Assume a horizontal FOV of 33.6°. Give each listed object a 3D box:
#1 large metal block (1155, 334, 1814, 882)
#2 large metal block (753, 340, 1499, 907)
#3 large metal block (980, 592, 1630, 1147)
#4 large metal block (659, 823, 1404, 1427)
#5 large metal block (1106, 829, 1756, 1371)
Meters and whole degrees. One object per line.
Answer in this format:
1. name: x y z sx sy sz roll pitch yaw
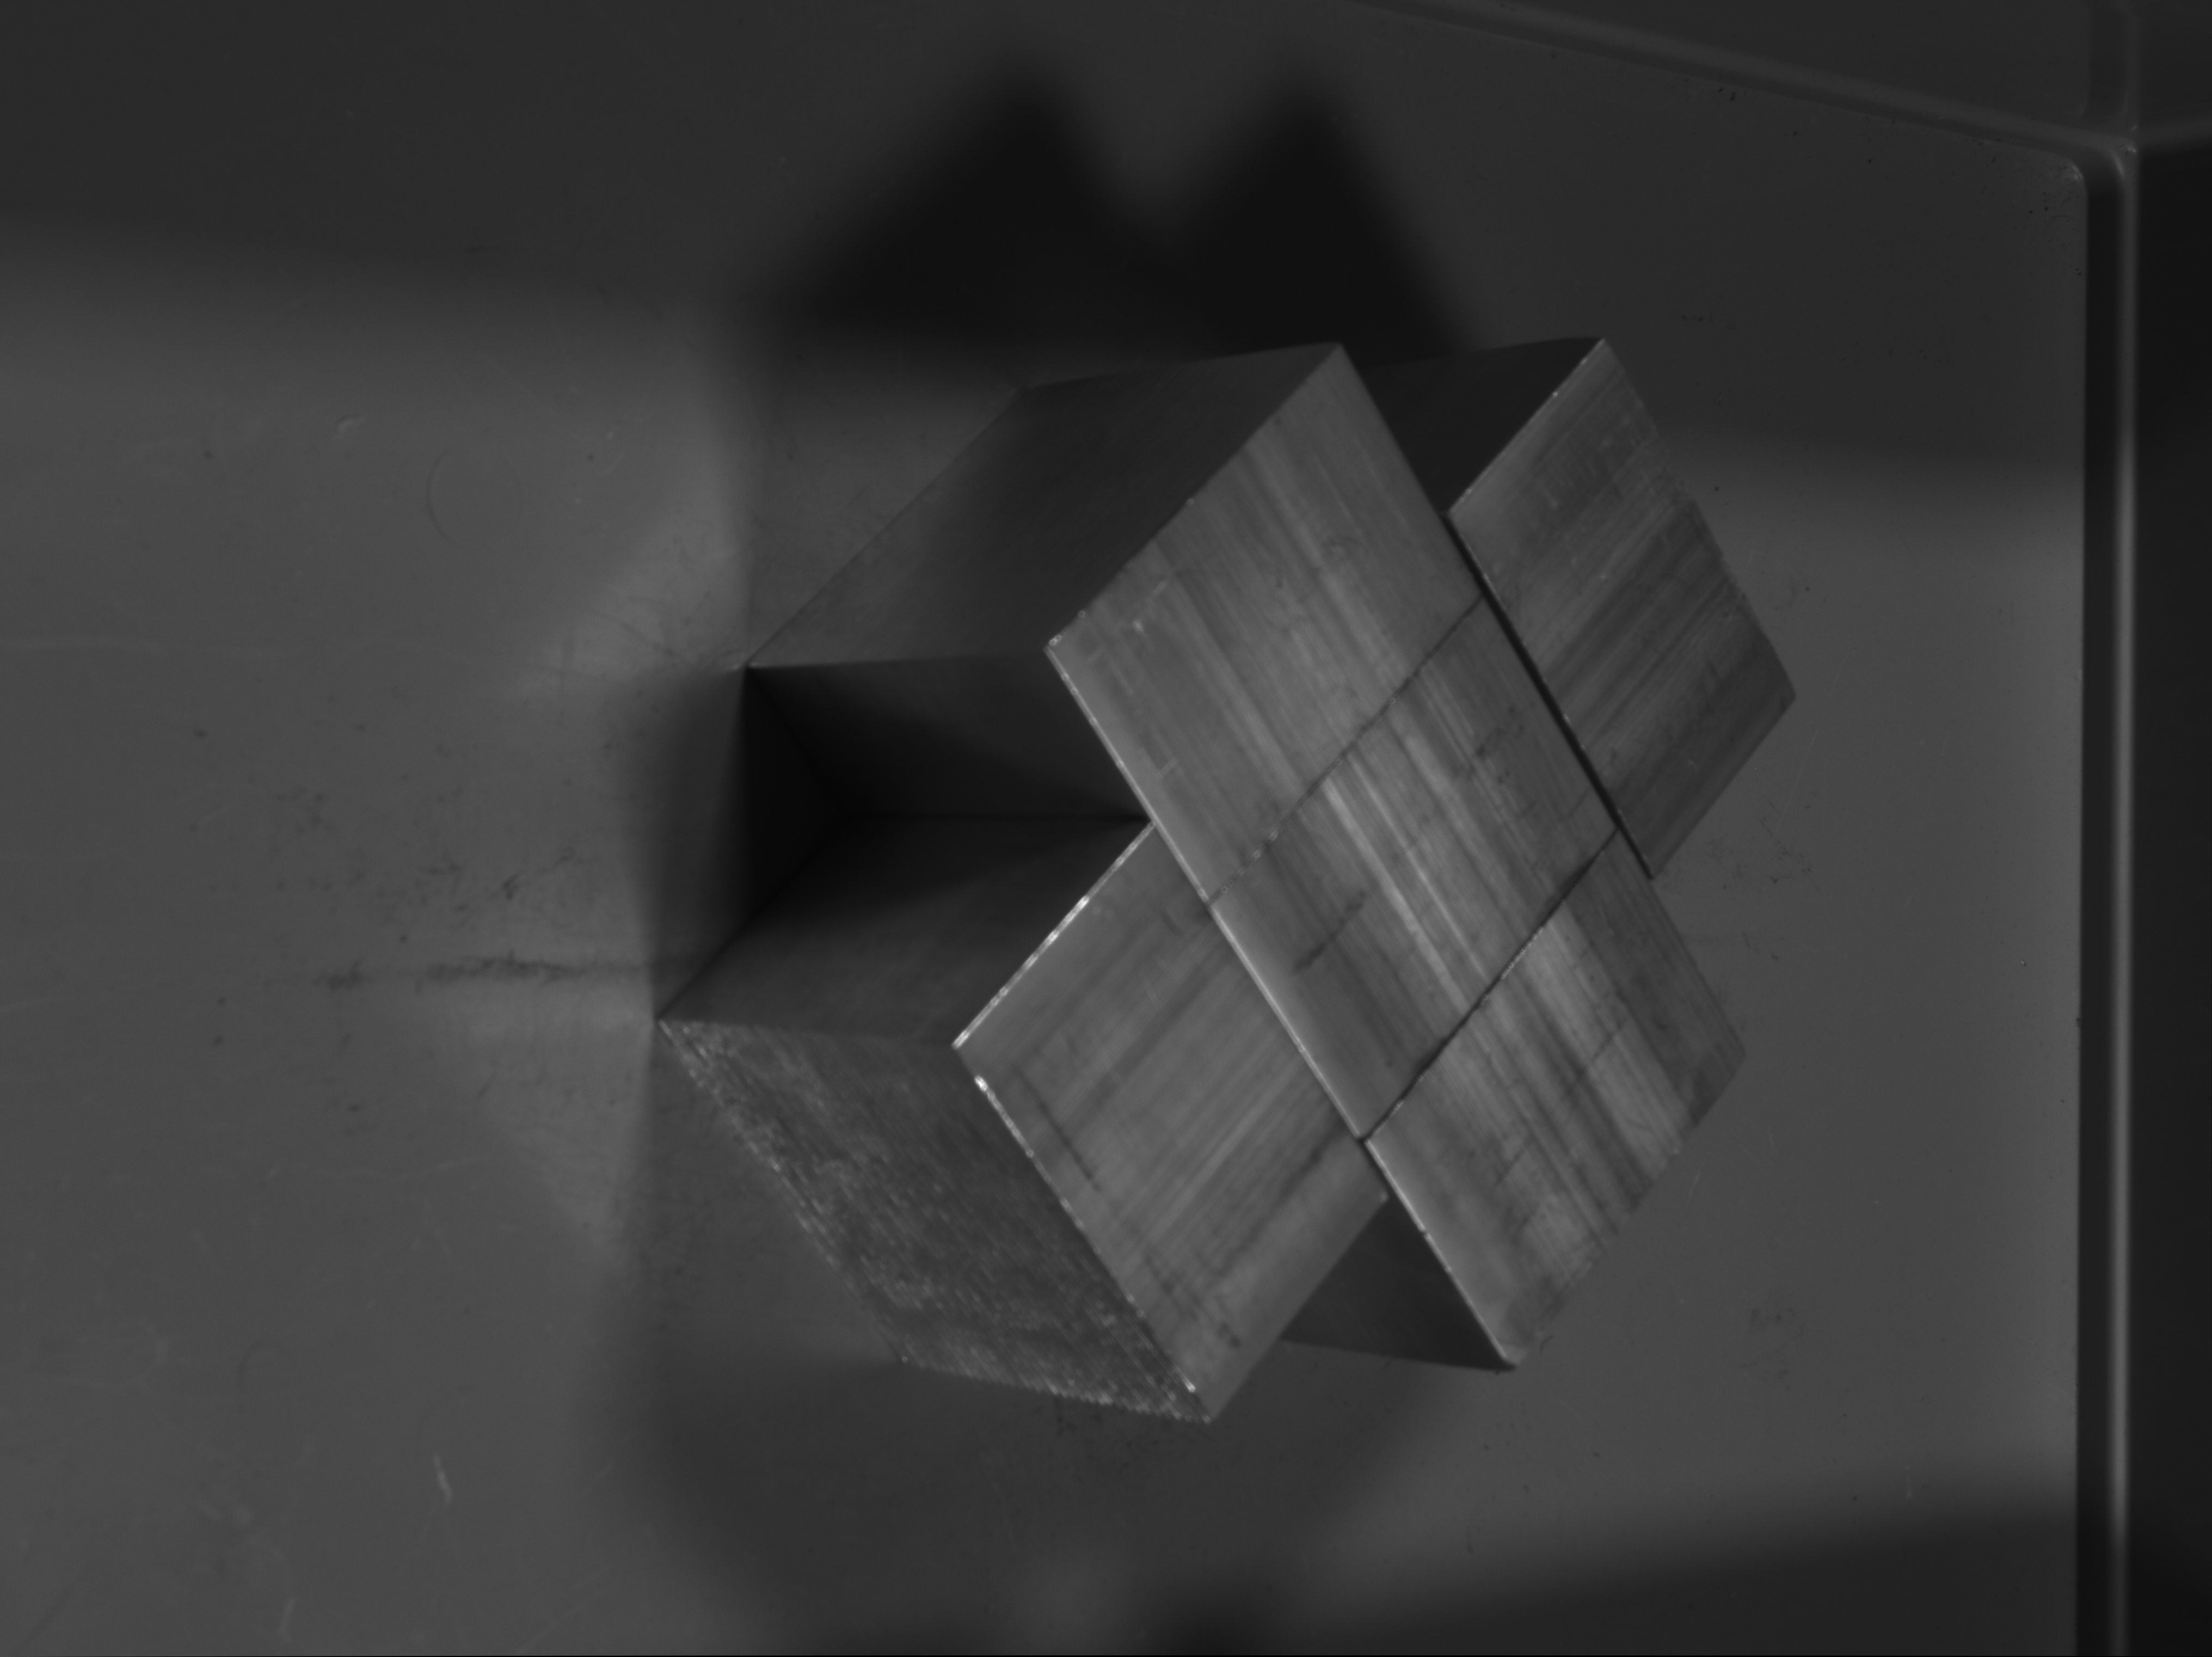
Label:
1. large metal block: 0.066 -0.037 0.657 0.050 0.080 0.080 -48 118 -29
2. large metal block: 0.003 -0.033 0.603 0.080 0.080 0.050 -47 118 -29
3. large metal block: 0.028 0.006 0.624 0.080 0.080 0.050 -47 118 -29
4. large metal block: -0.012 0.046 0.591 0.050 0.080 0.080 -48 118 -29
5. large metal block: 0.053 0.045 0.646 0.080 0.080 0.050 -47 118 -29
